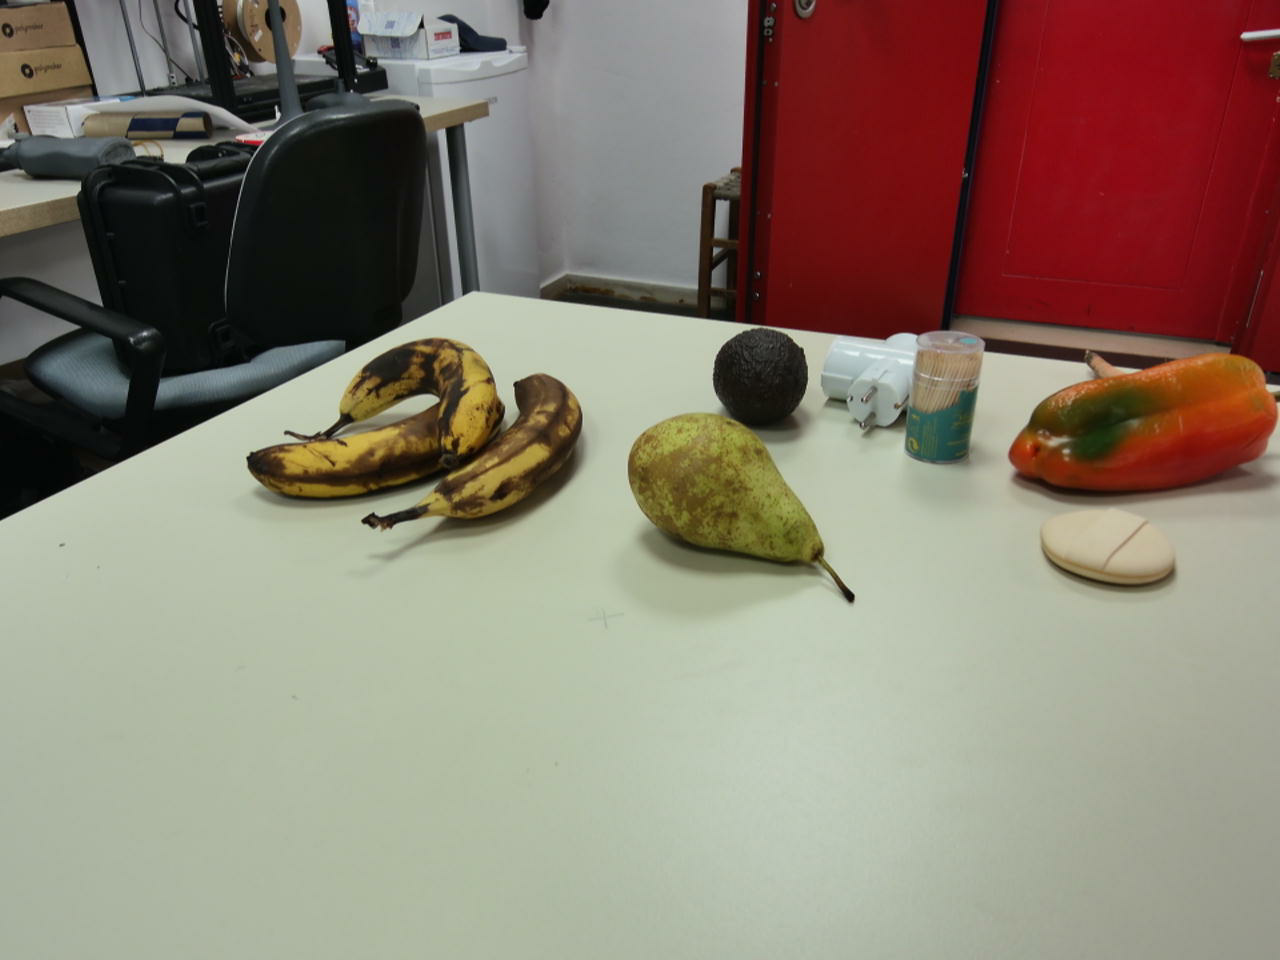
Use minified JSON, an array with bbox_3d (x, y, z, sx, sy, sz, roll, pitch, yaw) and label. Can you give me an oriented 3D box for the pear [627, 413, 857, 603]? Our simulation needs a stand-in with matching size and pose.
[{"bbox_3d":[0.056,0.005,0.529,0.128,0.075,0.071,8,26,15],"label":"pear"}]
